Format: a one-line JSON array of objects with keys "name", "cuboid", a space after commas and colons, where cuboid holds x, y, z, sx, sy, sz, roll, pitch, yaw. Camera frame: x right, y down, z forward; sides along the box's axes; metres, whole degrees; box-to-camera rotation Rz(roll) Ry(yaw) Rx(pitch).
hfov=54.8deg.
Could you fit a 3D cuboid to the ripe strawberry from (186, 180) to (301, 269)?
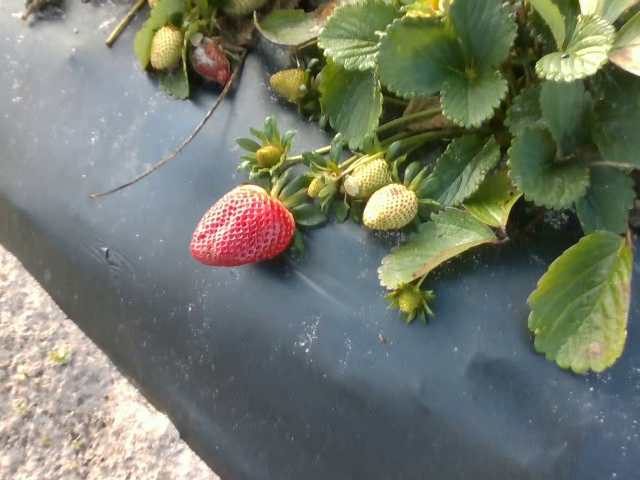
[{"name": "ripe strawberry", "cuboid": [-0.051, -0.007, 0.378, 0.067, 0.052, 0.045, -41, -20, -33]}]
